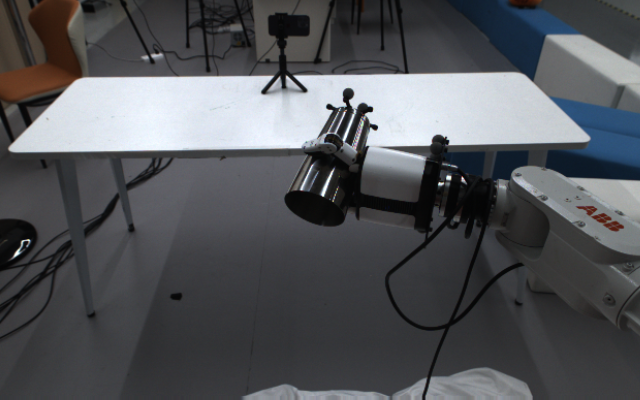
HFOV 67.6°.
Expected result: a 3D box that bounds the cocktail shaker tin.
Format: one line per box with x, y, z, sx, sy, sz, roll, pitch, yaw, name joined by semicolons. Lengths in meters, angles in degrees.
0.018;-0.056;0.723;0.093;0.093;0.170;14;61;17;cocktail shaker tin
